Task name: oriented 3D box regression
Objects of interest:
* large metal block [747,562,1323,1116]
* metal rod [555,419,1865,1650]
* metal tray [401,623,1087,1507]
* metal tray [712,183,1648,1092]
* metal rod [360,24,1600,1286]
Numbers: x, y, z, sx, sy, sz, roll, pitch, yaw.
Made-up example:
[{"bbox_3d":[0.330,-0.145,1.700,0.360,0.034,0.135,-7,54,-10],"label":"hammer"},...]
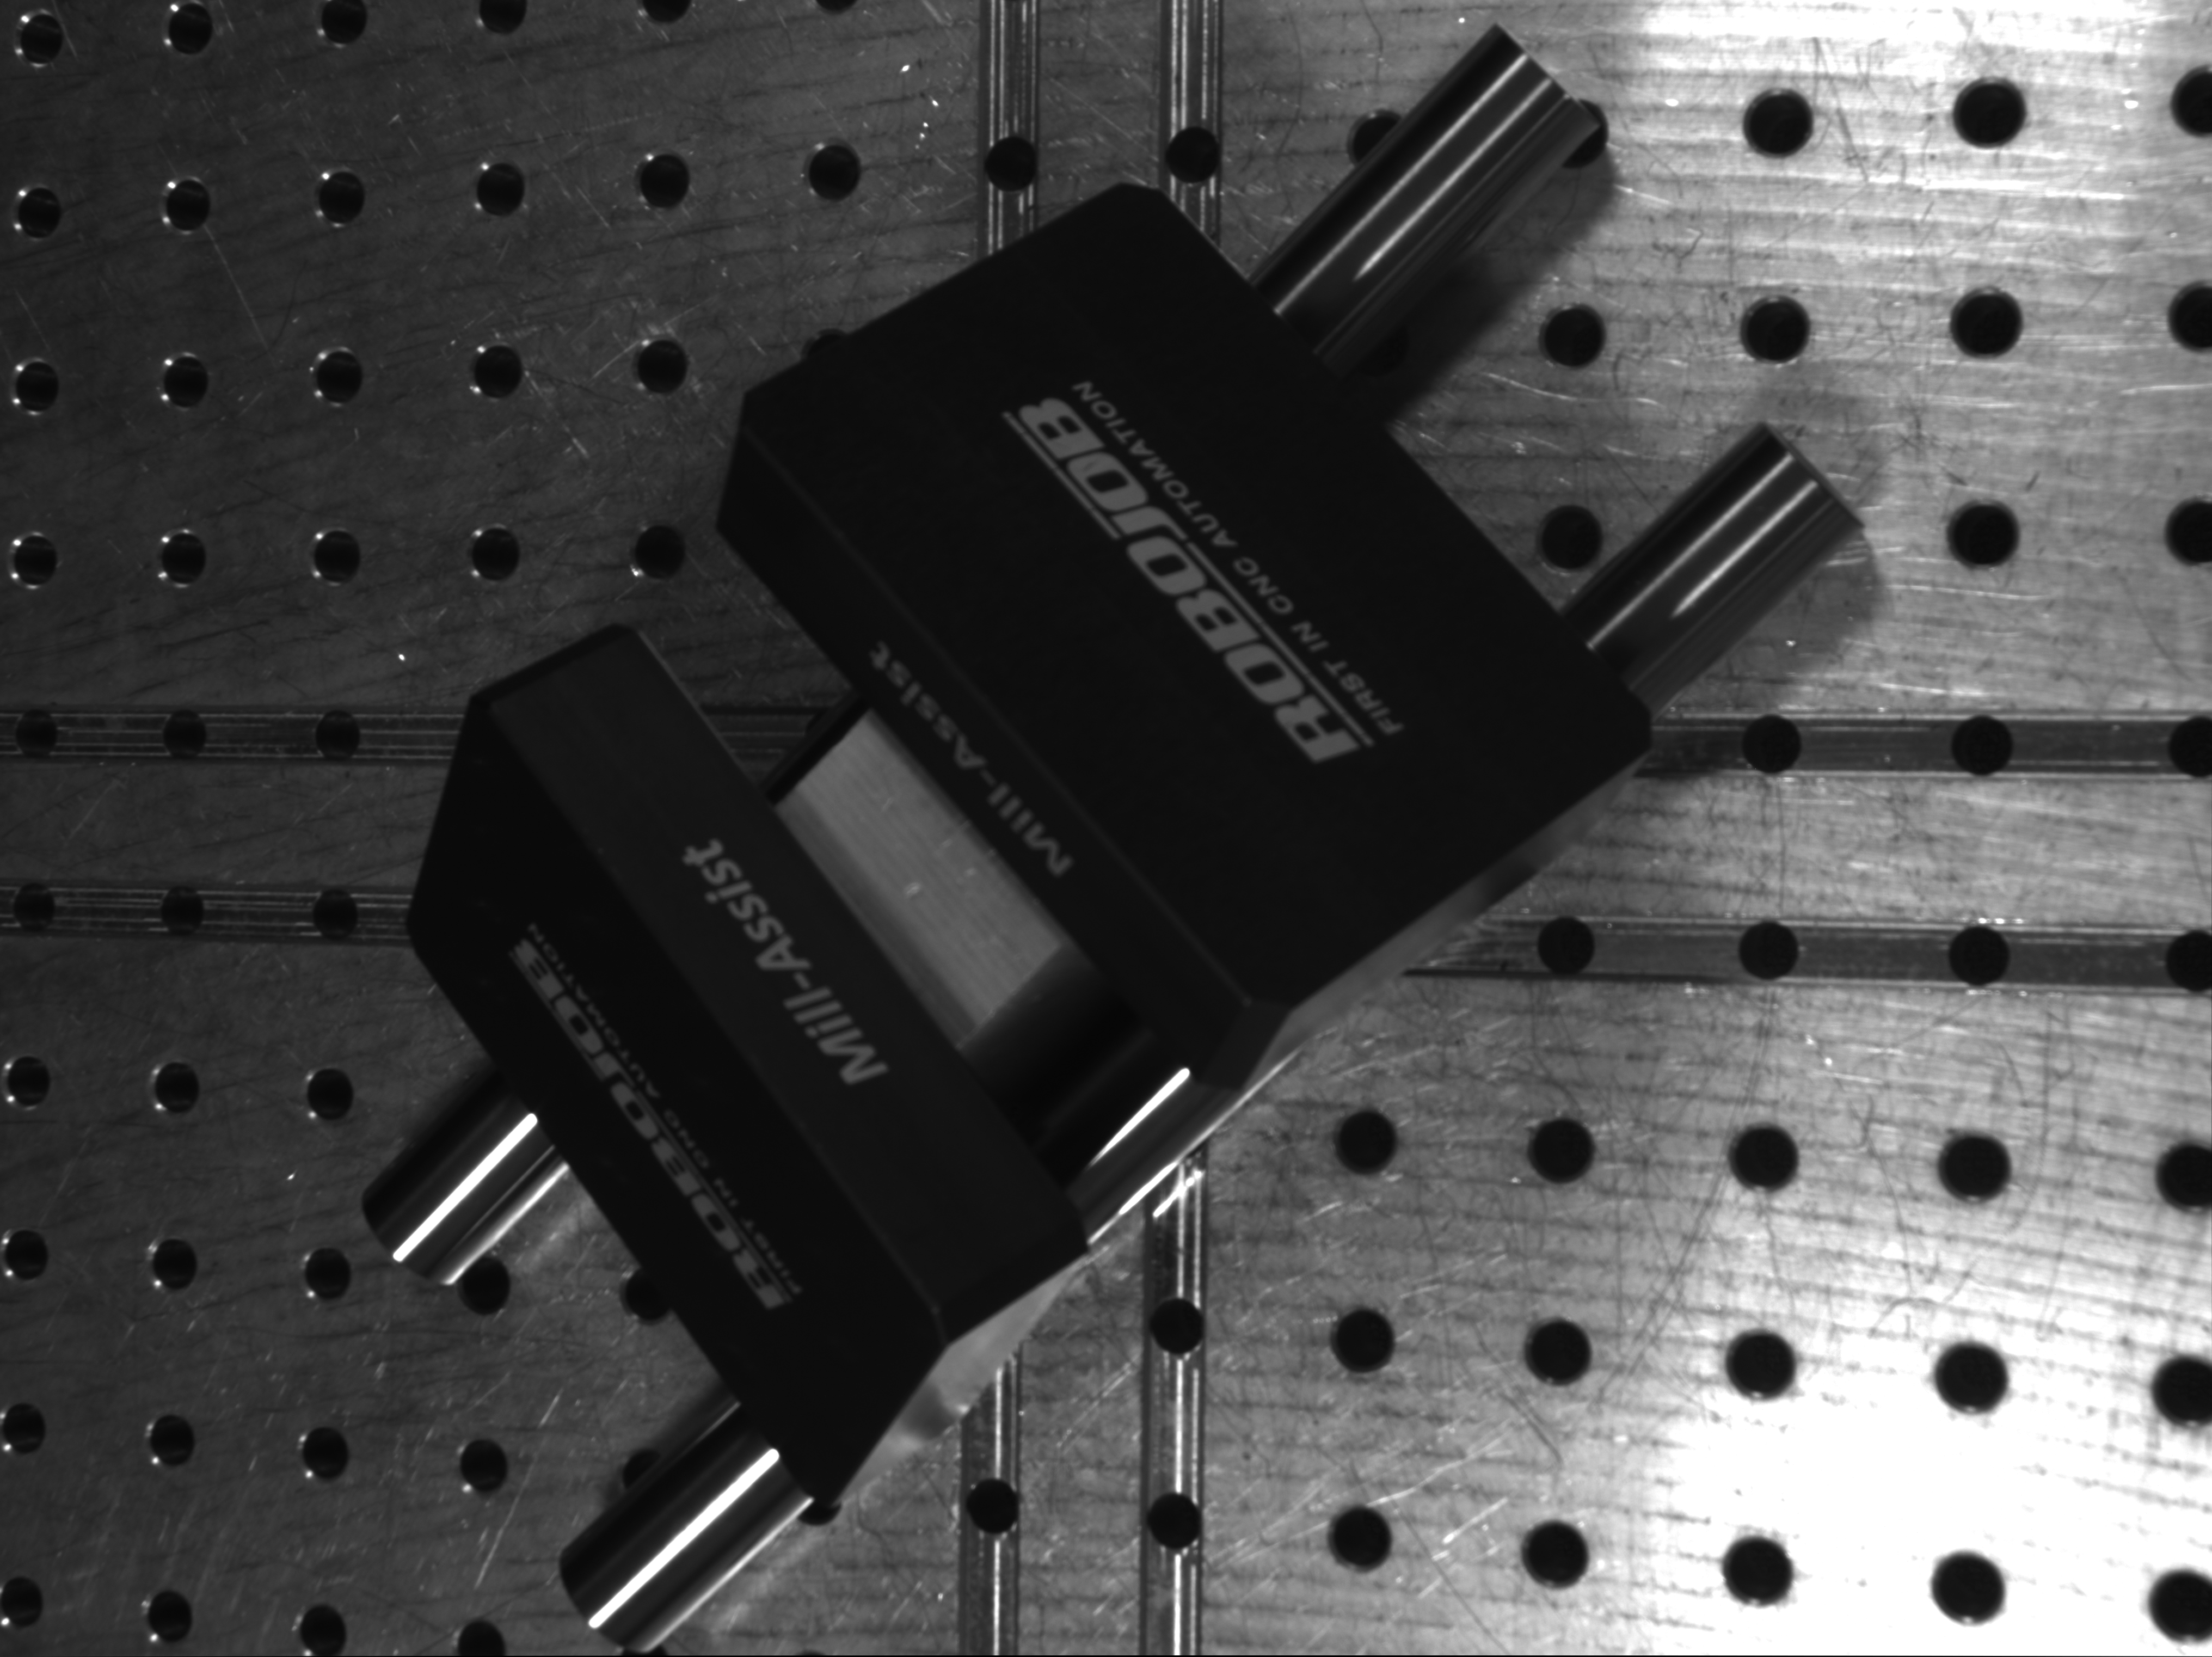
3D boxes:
[{"bbox_3d":[-0.011,0.002,0.621,0.080,0.080,0.050,-44,76,14],"label":"large metal block"},{"bbox_3d":[0.012,0.042,0.643,0.300,0.025,0.025,-44,76,14],"label":"metal rod"},{"bbox_3d":[-0.064,0.041,0.612,0.130,0.030,0.090,52,149,12],"label":"metal tray"},{"bbox_3d":[0.011,-0.033,0.585,0.090,0.030,0.130,-34,75,-28],"label":"metal tray"},{"bbox_3d":[-0.028,-0.025,0.657,0.300,0.025,0.025,-45,76,14],"label":"metal rod"}]
